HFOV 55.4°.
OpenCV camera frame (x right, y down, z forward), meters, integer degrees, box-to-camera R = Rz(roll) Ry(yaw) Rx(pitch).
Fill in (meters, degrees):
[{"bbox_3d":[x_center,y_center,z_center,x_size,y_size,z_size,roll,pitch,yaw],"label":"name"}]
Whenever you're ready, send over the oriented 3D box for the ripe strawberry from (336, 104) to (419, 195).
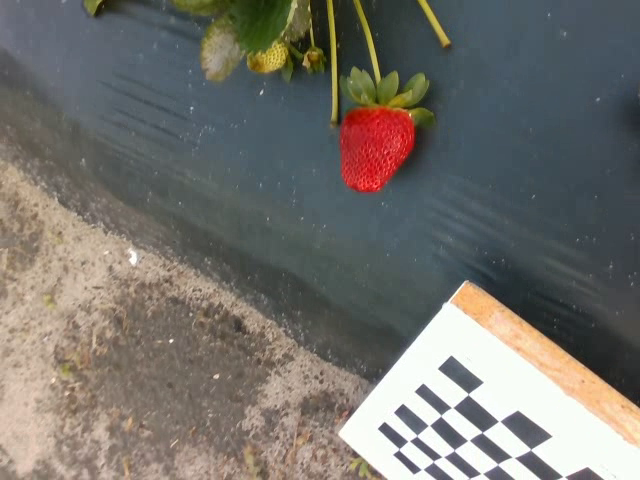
[{"bbox_3d":[0.028,-0.046,0.319,0.042,0.055,0.045,32,-17,-34],"label":"ripe strawberry"}]
